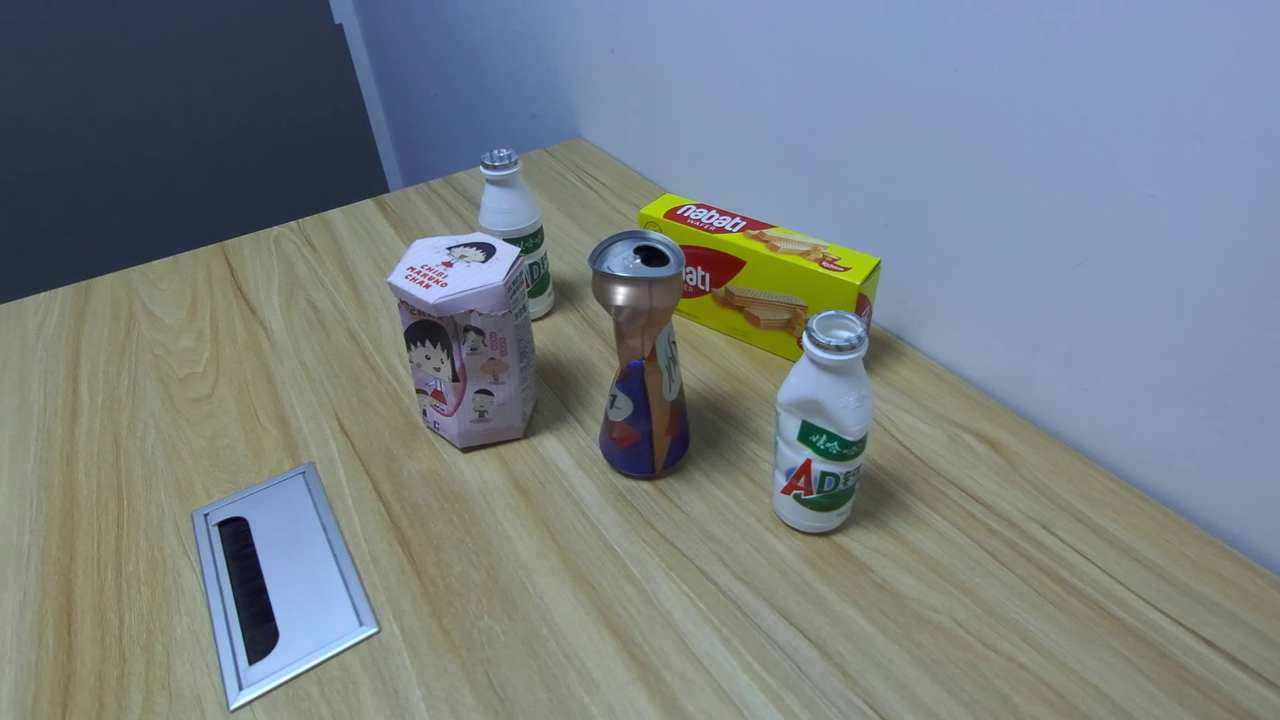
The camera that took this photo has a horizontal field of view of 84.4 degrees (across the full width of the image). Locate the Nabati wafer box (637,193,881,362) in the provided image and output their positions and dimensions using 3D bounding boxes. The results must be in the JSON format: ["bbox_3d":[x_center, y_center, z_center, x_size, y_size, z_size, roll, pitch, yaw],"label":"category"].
[{"bbox_3d":[0.089,-0.063,0.579,0.202,0.093,0.042,25,47,30],"label":"Nabati wafer box"}]

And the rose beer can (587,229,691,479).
[{"bbox_3d":[-0.001,0.001,0.459,0.068,0.162,0.073,-24,44,-24],"label":"rose beer can"}]

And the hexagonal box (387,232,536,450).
[{"bbox_3d":[-0.122,-0.014,0.509,0.090,0.134,0.091,-7,39,-9],"label":"hexagonal box"}]

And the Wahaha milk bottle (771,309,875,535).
[{"bbox_3d":[0.106,0.039,0.412,0.056,0.148,0.056,-2,41,2],"label":"Wahaha milk bottle"}]

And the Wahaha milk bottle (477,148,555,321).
[{"bbox_3d":[-0.107,-0.104,0.606,0.053,0.147,0.053,-2,36,1],"label":"Wahaha milk bottle"}]
